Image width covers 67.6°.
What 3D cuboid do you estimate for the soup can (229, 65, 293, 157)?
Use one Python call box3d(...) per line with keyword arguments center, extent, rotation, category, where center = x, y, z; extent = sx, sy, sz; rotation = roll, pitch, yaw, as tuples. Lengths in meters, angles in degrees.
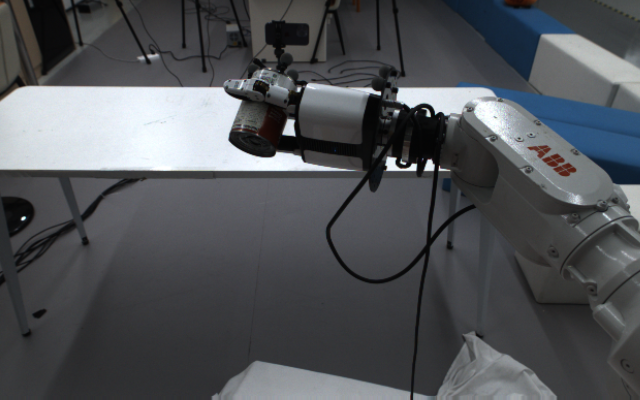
box3d(center=(-0.077, -0.119, 0.657), extent=(0.067, 0.067, 0.101), rotation=(12, 70, 14), category="soup can")
